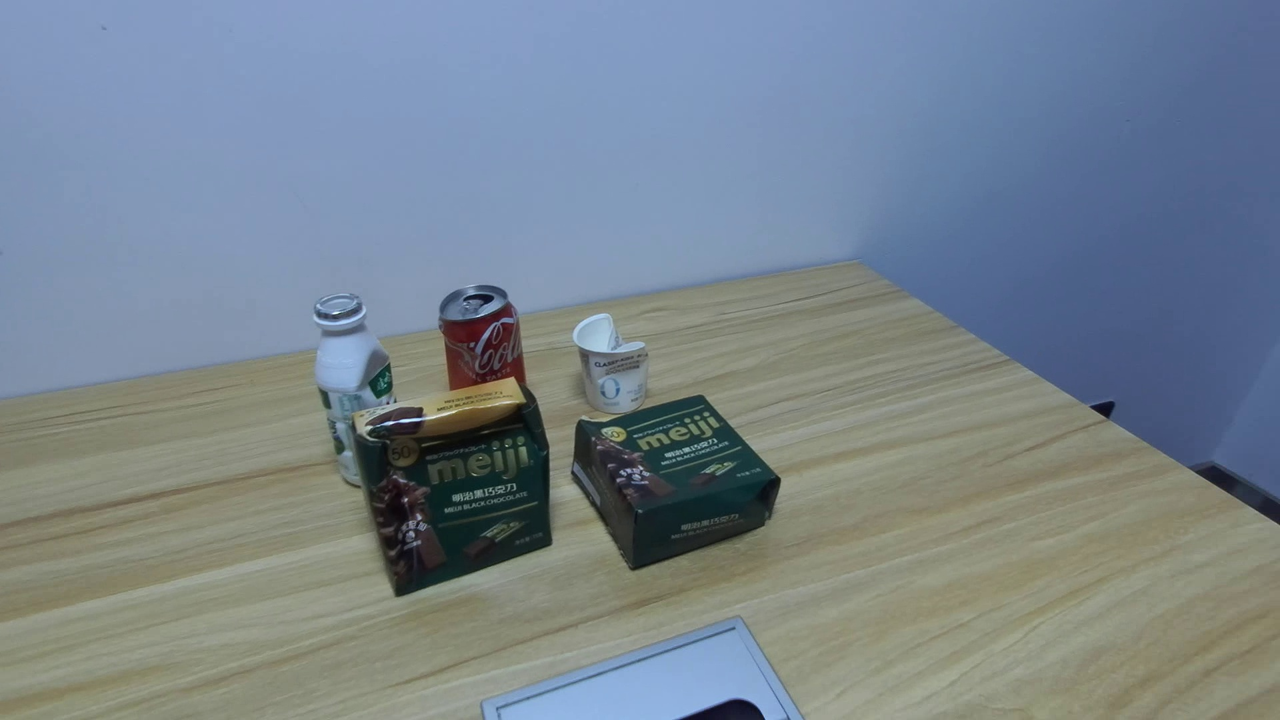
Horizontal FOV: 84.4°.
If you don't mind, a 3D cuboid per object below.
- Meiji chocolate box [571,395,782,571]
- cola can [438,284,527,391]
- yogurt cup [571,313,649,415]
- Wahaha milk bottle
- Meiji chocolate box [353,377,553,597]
[{"bbox_3d":[0.023,0.083,0.511,0.116,0.058,0.122,-11,33,-23],"label":"Meiji chocolate box"},{"bbox_3d":[-0.126,0.002,0.583,0.066,0.117,0.072,-15,33,-26],"label":"cola can"},{"bbox_3d":[-0.025,0.006,0.617,0.067,0.070,0.067,1,32,-1],"label":"yogurt cup"},{"bbox_3d":[-0.206,0.024,0.518,0.056,0.148,0.056,0,28,0],"label":"Wahaha milk bottle"},{"bbox_3d":[-0.119,0.078,0.464,0.117,0.117,0.051,-13,25,-21],"label":"Meiji chocolate box"}]
